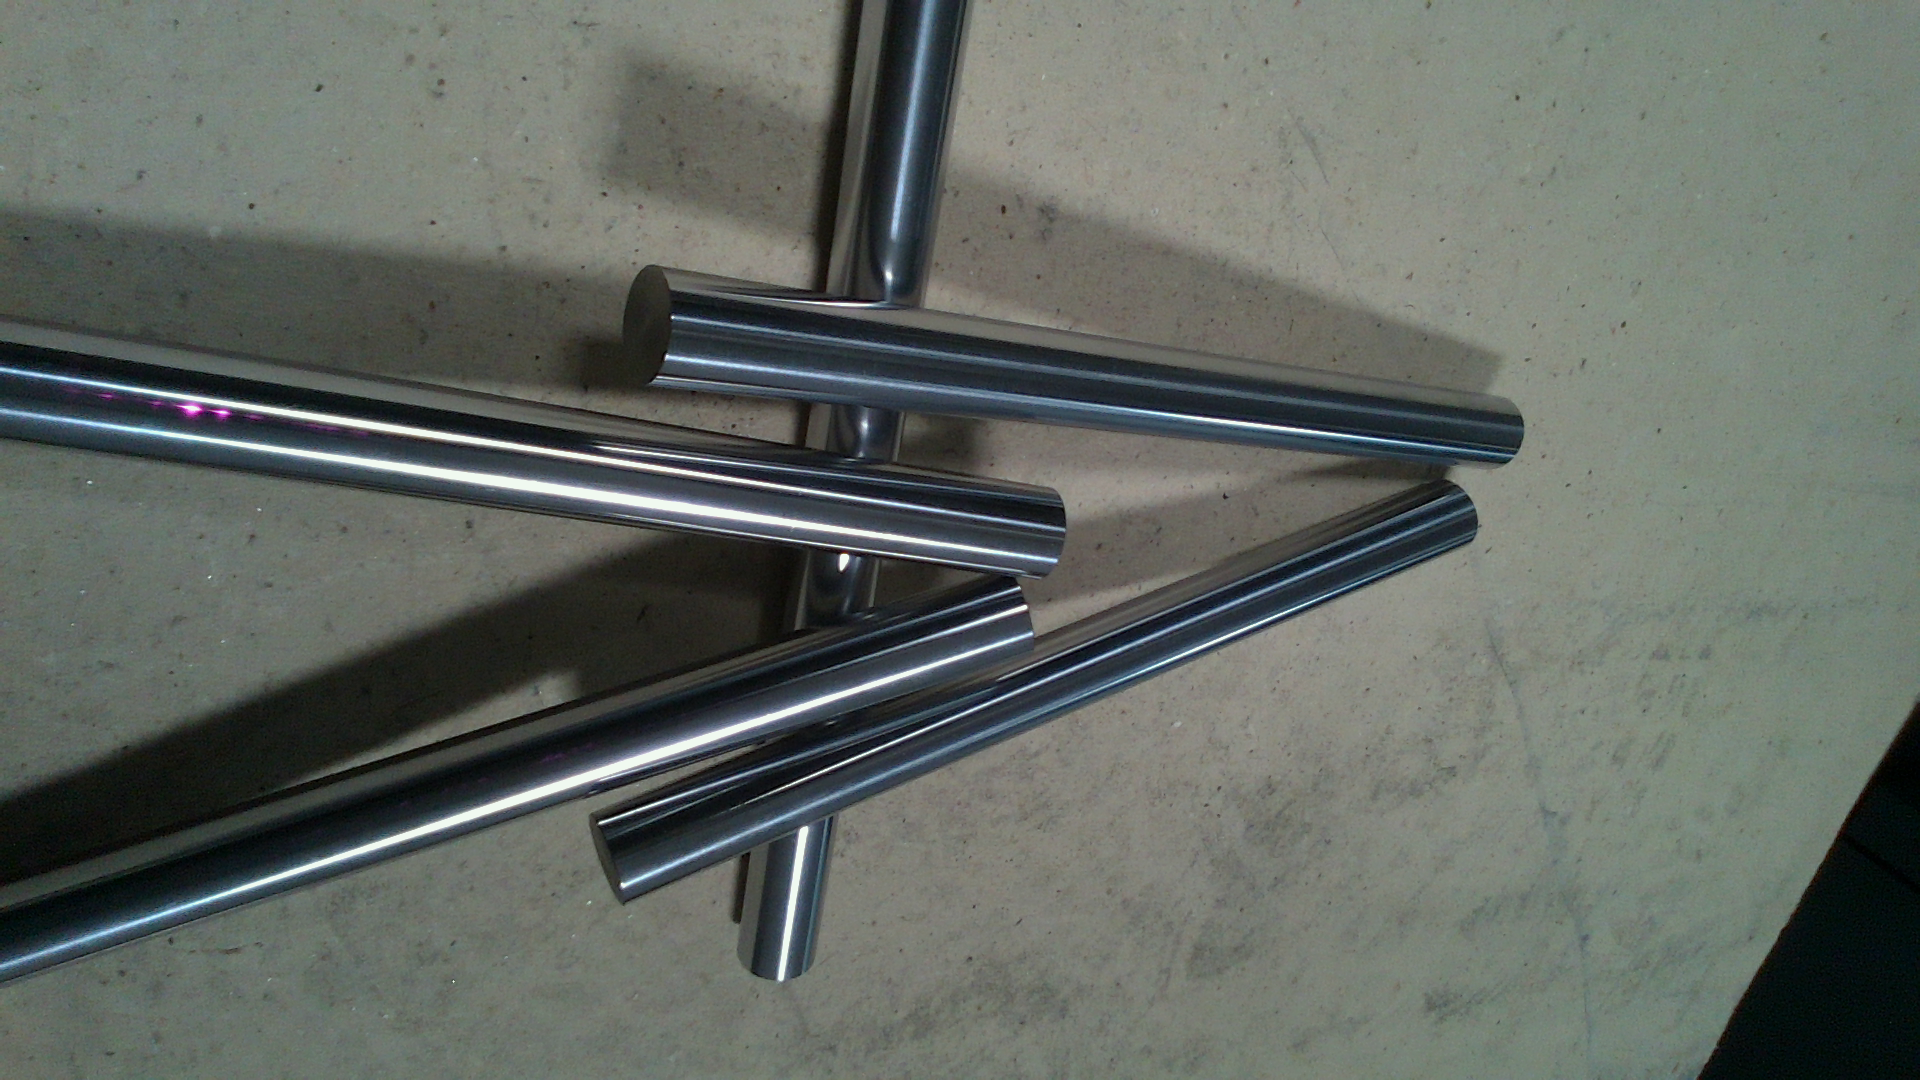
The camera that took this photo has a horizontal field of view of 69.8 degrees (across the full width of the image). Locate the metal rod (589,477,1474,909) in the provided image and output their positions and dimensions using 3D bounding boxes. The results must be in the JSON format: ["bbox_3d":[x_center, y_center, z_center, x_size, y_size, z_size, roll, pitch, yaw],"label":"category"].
[{"bbox_3d":[0.039,0.036,0.412,0.301,0.025,0.025,-20,126,-25],"label":"metal rod"}]

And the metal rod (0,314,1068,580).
[{"bbox_3d":[-0.112,-0.021,0.298,0.301,0.025,0.025,8,115,-26],"label":"metal rod"}]

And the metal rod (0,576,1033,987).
[{"bbox_3d":[-0.125,0.061,0.341,0.300,0.025,0.025,-17,125,-12],"label":"metal rod"}]

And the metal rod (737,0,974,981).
[{"bbox_3d":[-0.033,-0.001,0.371,0.025,0.025,0.300,-3,120,-27],"label":"metal rod"}]

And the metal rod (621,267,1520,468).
[{"bbox_3d":[0.056,-0.040,0.374,0.301,0.025,0.025,2,118,-36],"label":"metal rod"}]
